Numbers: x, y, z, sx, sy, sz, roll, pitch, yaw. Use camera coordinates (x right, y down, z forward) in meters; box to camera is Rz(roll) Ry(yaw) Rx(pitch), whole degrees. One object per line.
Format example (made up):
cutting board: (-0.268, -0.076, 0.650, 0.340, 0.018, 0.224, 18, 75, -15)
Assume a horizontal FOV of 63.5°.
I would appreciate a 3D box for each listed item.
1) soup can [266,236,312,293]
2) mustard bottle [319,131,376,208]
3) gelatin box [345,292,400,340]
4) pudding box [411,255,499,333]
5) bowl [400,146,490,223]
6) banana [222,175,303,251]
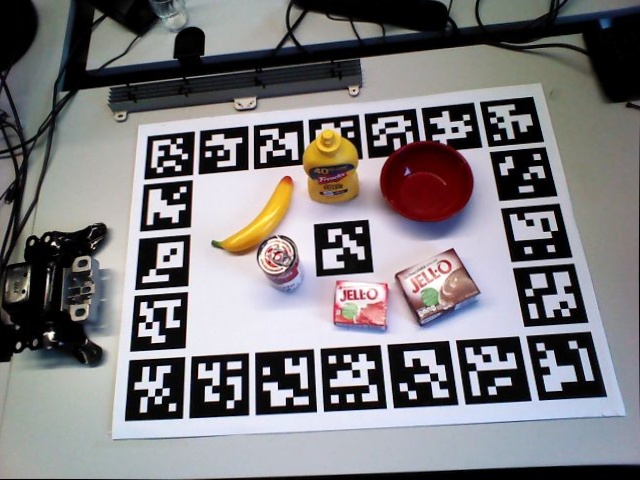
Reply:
soup can: (-0.050, 0.042, 0.867, 0.068, 0.102, 0.067, -1, 66, 3)
mustard bottle: (0.047, -0.123, 0.873, 0.096, 0.192, 0.058, -3, 65, 4)
gelatin box: (0.088, 0.126, 0.867, 0.090, 0.030, 0.073, 3, 71, 8)
pudding box: (0.223, 0.090, 0.862, 0.114, 0.039, 0.090, -26, 73, -5)
bowl: (0.225, -0.086, 0.928, 0.162, 0.055, 0.161, -3, 67, 6)
banana: (-0.091, -0.043, 0.950, 0.074, 0.039, 0.196, 35, 75, 28)
